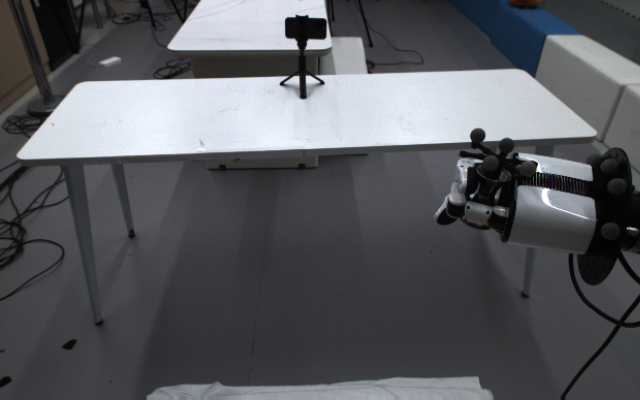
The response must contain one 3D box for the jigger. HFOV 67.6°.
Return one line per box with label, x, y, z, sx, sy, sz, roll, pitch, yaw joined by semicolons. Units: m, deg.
jigger;0.199;-0.004;0.583;0.043;0.071;0.043;7;32;-4
